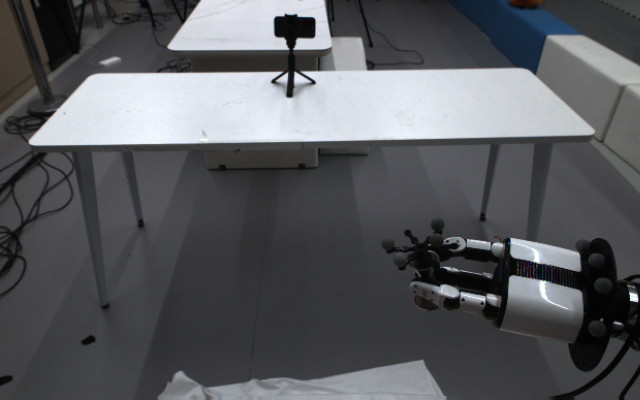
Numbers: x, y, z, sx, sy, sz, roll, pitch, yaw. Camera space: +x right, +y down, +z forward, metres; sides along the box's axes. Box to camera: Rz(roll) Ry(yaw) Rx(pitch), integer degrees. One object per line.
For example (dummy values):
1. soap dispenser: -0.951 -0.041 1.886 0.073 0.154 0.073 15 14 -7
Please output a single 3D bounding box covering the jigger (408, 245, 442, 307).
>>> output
1. jigger: 0.139 0.102 0.628 0.043 0.071 0.043 -12 29 7
